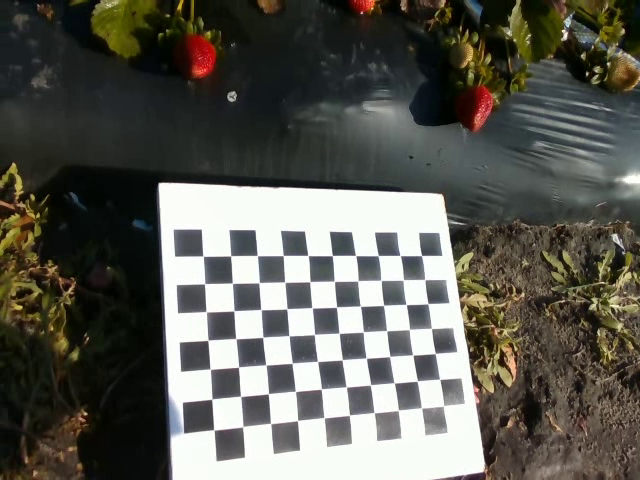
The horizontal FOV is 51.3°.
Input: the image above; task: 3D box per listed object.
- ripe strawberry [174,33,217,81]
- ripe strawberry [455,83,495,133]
[{"bbox_3d":[-0.108,-0.157,0.583,0.045,0.042,0.055,11,40,-25],"label":"ripe strawberry"},{"bbox_3d":[0.148,-0.126,0.646,0.042,0.059,0.042,24,-35,-19],"label":"ripe strawberry"}]
